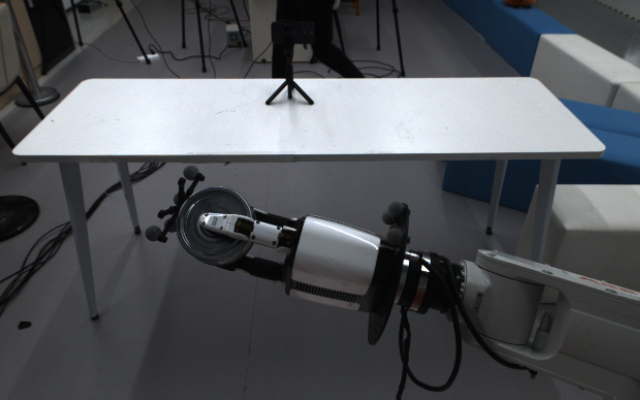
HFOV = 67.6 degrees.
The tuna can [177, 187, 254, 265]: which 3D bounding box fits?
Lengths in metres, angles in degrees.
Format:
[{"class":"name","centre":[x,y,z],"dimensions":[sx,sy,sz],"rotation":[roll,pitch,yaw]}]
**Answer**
[{"class":"tuna can","centre":[-0.110,0.034,0.537],"dimensions":[0.085,0.034,0.085],"rotation":[0,75,-2]}]
